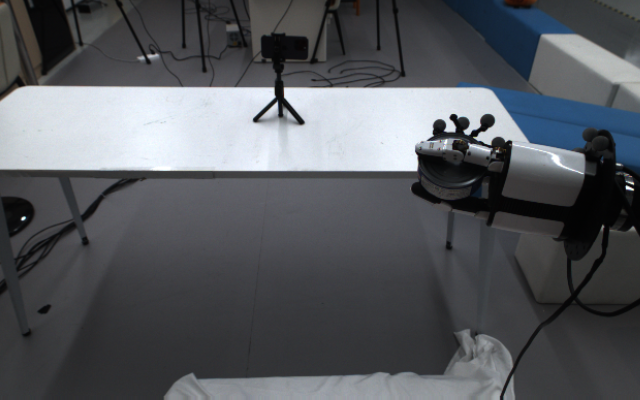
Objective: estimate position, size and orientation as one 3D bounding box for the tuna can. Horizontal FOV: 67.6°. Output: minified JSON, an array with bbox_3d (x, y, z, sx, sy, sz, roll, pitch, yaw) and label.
[{"bbox_3d":[0.169,-0.046,0.618,0.085,0.034,0.085,-4,56,6],"label":"tuna can"}]
